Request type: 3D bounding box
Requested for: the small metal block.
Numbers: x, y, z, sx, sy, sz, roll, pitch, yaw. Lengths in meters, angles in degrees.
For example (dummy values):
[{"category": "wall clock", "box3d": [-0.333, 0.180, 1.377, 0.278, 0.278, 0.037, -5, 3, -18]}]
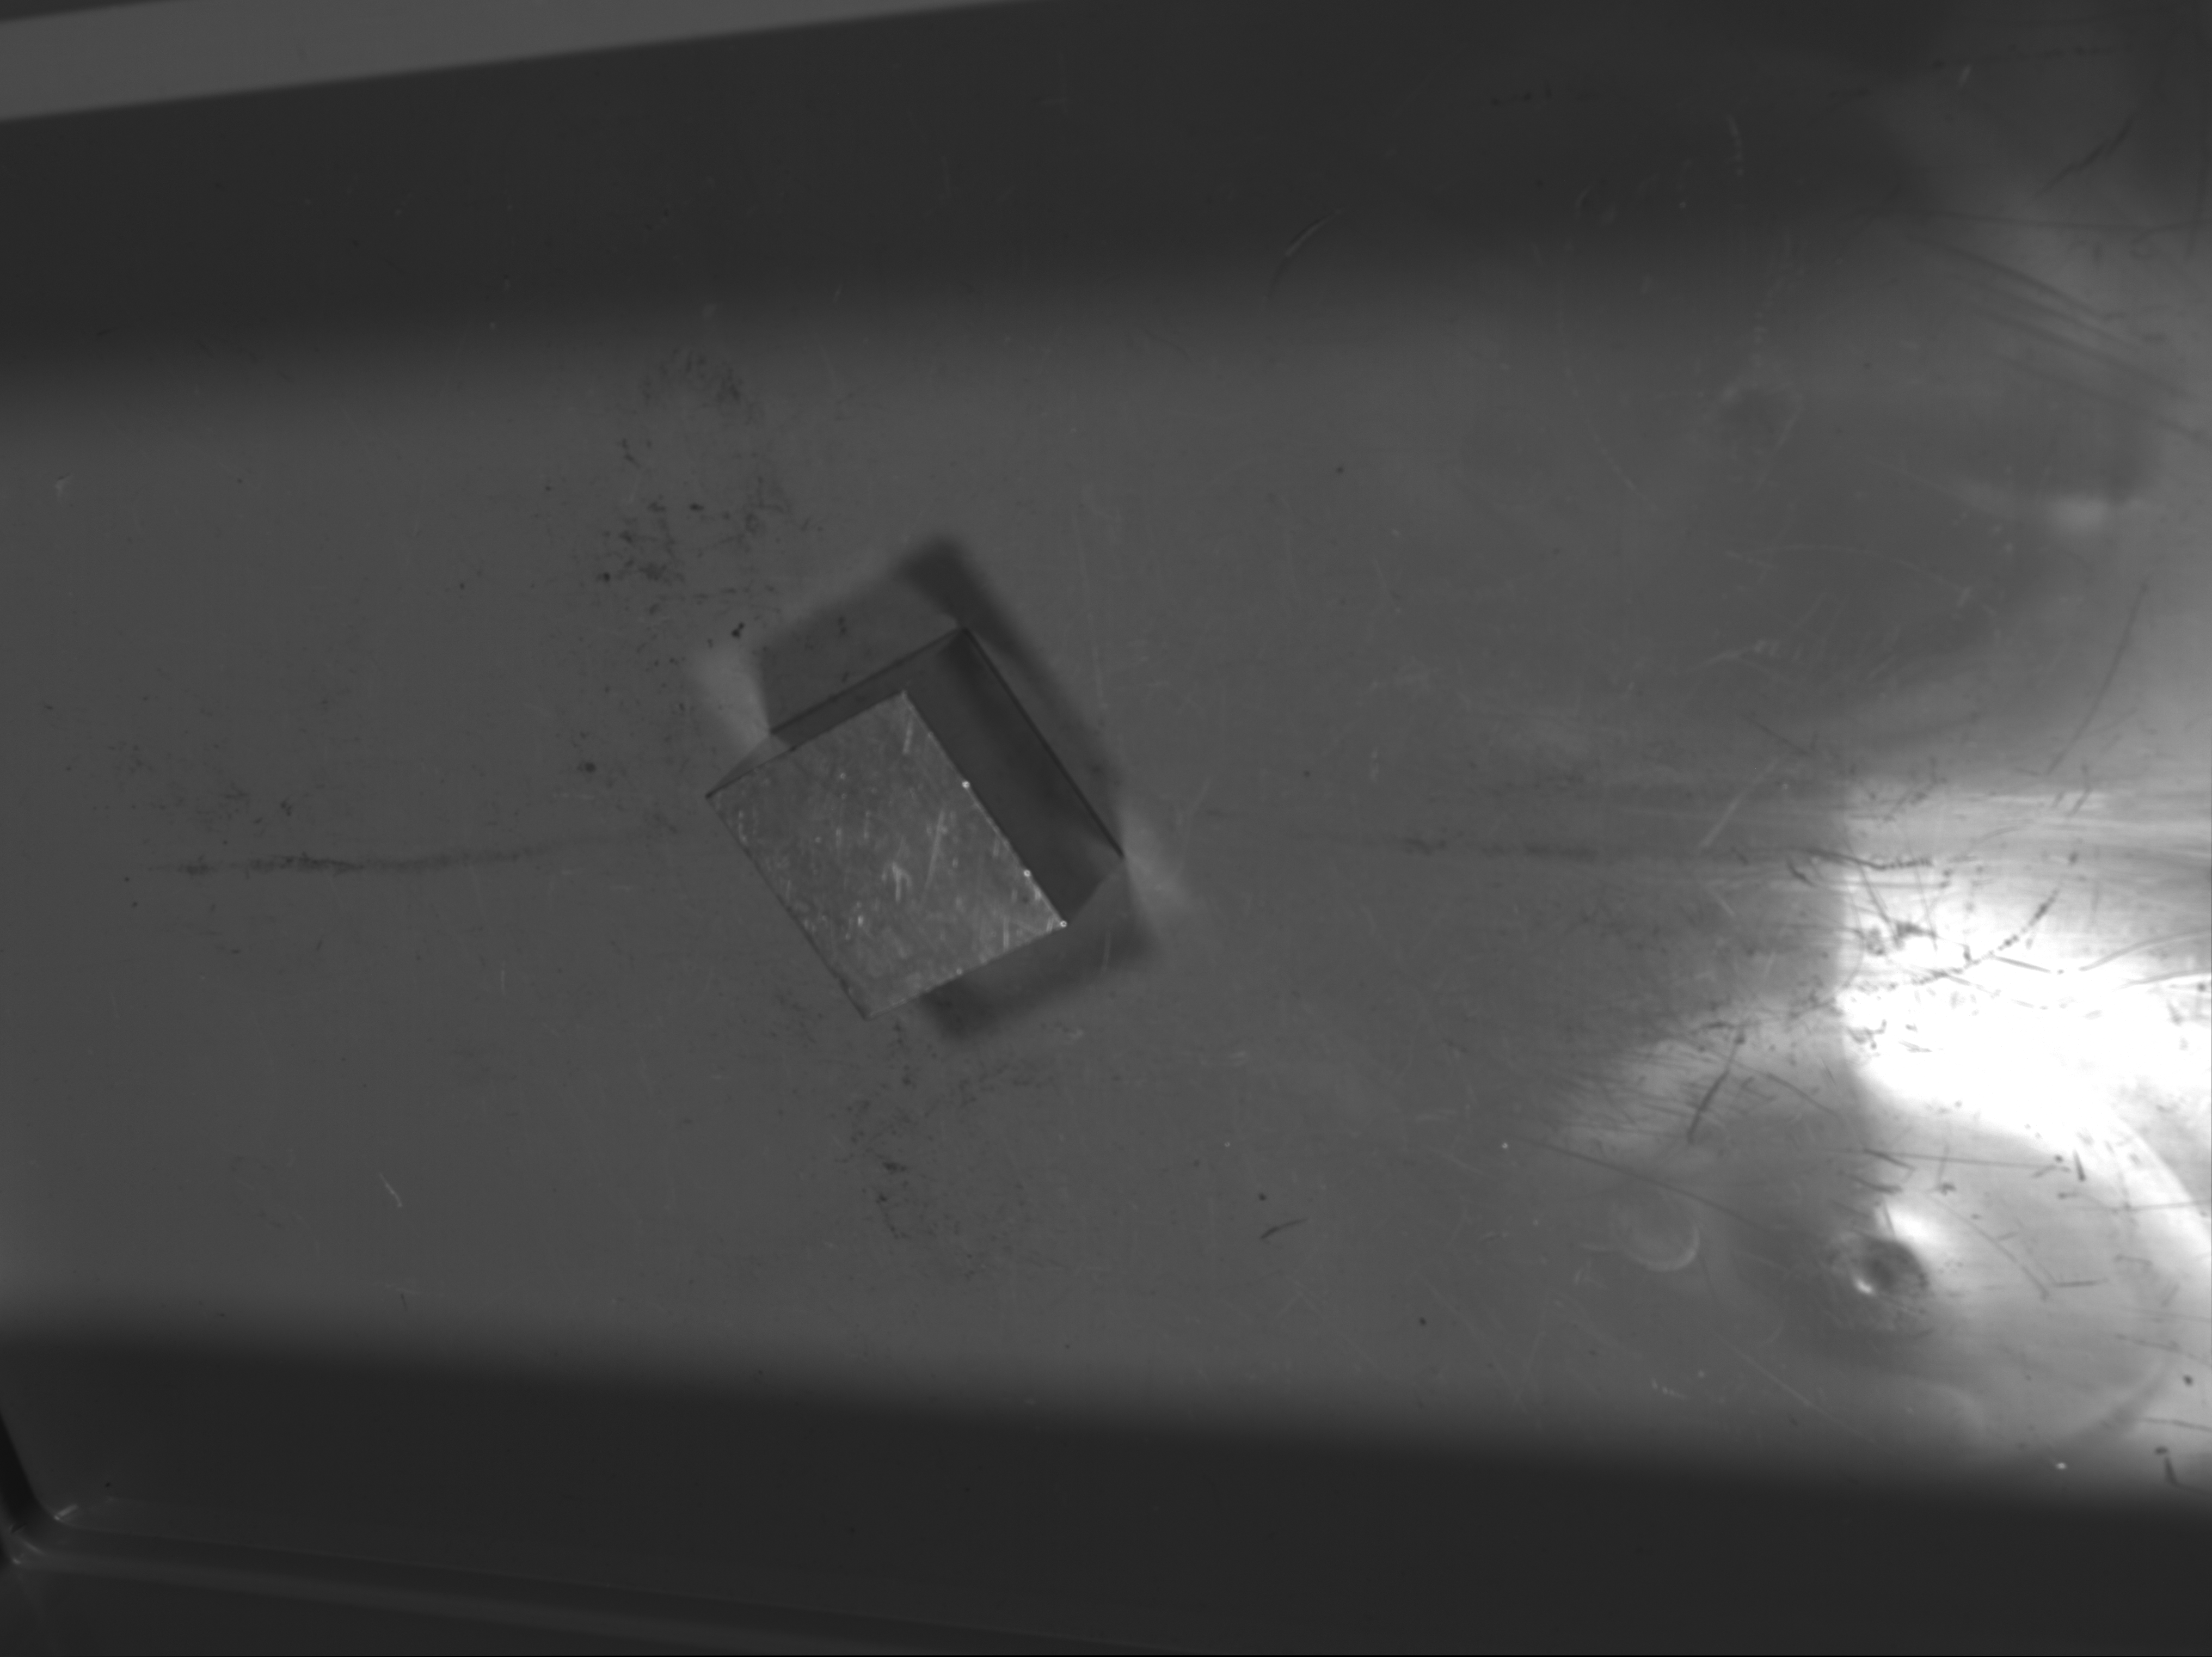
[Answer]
[{"category": "small metal block", "box3d": [-0.038, 0.000, 0.646, 0.050, 0.025, 0.050, -25, 105, 35]}]
